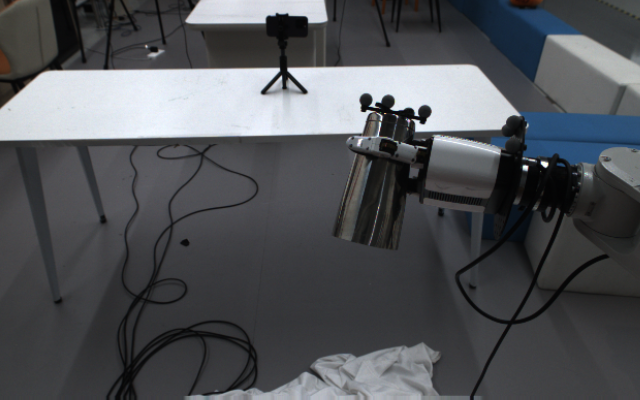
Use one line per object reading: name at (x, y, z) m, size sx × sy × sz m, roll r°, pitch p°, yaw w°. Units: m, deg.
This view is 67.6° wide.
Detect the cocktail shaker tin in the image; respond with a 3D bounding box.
cocktail shaker tin at (0.082, -0.028, 0.654) m, size 0.093 × 0.170 × 0.093 m, roll 13°, pitch 1°, yaw 0°
